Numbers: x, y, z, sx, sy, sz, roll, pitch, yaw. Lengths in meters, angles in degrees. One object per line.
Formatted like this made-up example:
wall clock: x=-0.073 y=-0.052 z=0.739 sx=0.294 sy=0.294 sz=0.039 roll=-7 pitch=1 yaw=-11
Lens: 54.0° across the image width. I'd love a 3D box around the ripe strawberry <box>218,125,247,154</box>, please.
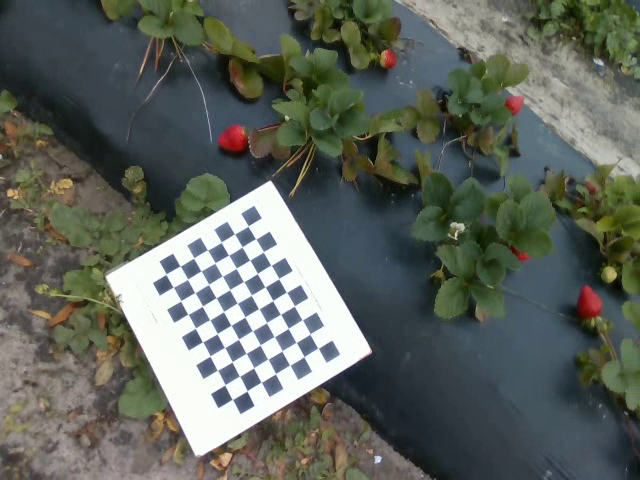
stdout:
ripe strawberry: x=-0.092 y=-0.101 z=0.620 sx=0.032 sy=0.029 sz=0.023 roll=-15 pitch=-16 yaw=-4
